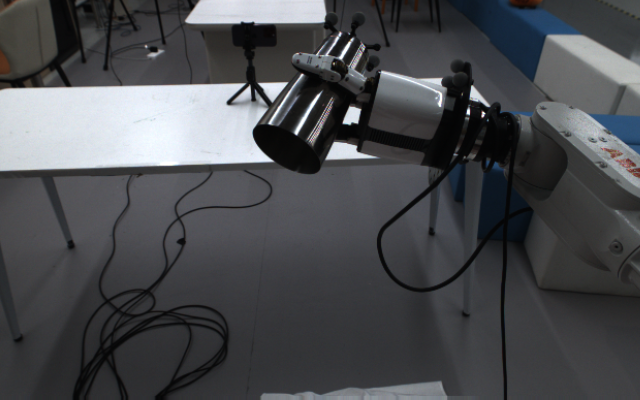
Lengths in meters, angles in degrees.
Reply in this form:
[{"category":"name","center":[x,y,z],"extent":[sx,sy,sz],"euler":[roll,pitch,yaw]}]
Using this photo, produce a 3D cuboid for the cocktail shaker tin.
[{"category":"cocktail shaker tin","center":[0.001,-0.131,0.603],"extent":[0.093,0.093,0.170],"euler":[18,67,21]}]
